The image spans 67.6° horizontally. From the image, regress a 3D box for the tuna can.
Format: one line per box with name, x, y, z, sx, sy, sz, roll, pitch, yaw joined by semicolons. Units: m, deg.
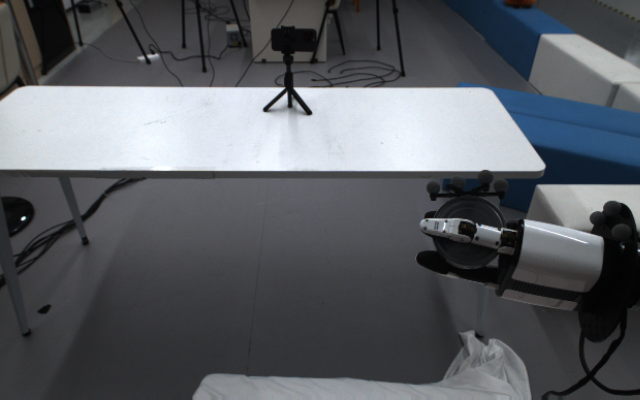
tuna can;0.178;0.037;0.583;0.085;0.034;0.085;-5;70;15
